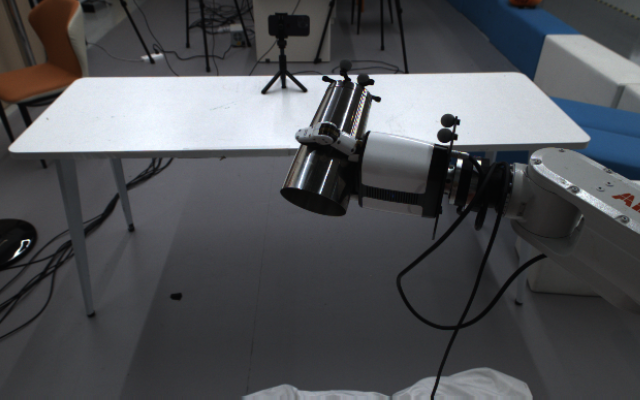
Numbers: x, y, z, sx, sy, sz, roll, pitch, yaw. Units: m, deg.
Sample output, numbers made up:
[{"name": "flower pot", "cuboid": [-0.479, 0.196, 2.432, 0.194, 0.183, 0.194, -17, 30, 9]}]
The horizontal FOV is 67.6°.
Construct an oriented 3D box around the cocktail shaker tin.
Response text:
[{"name": "cocktail shaker tin", "cuboid": [0.017, -0.072, 0.659, 0.093, 0.093, 0.170, 14, 73, 16]}]
